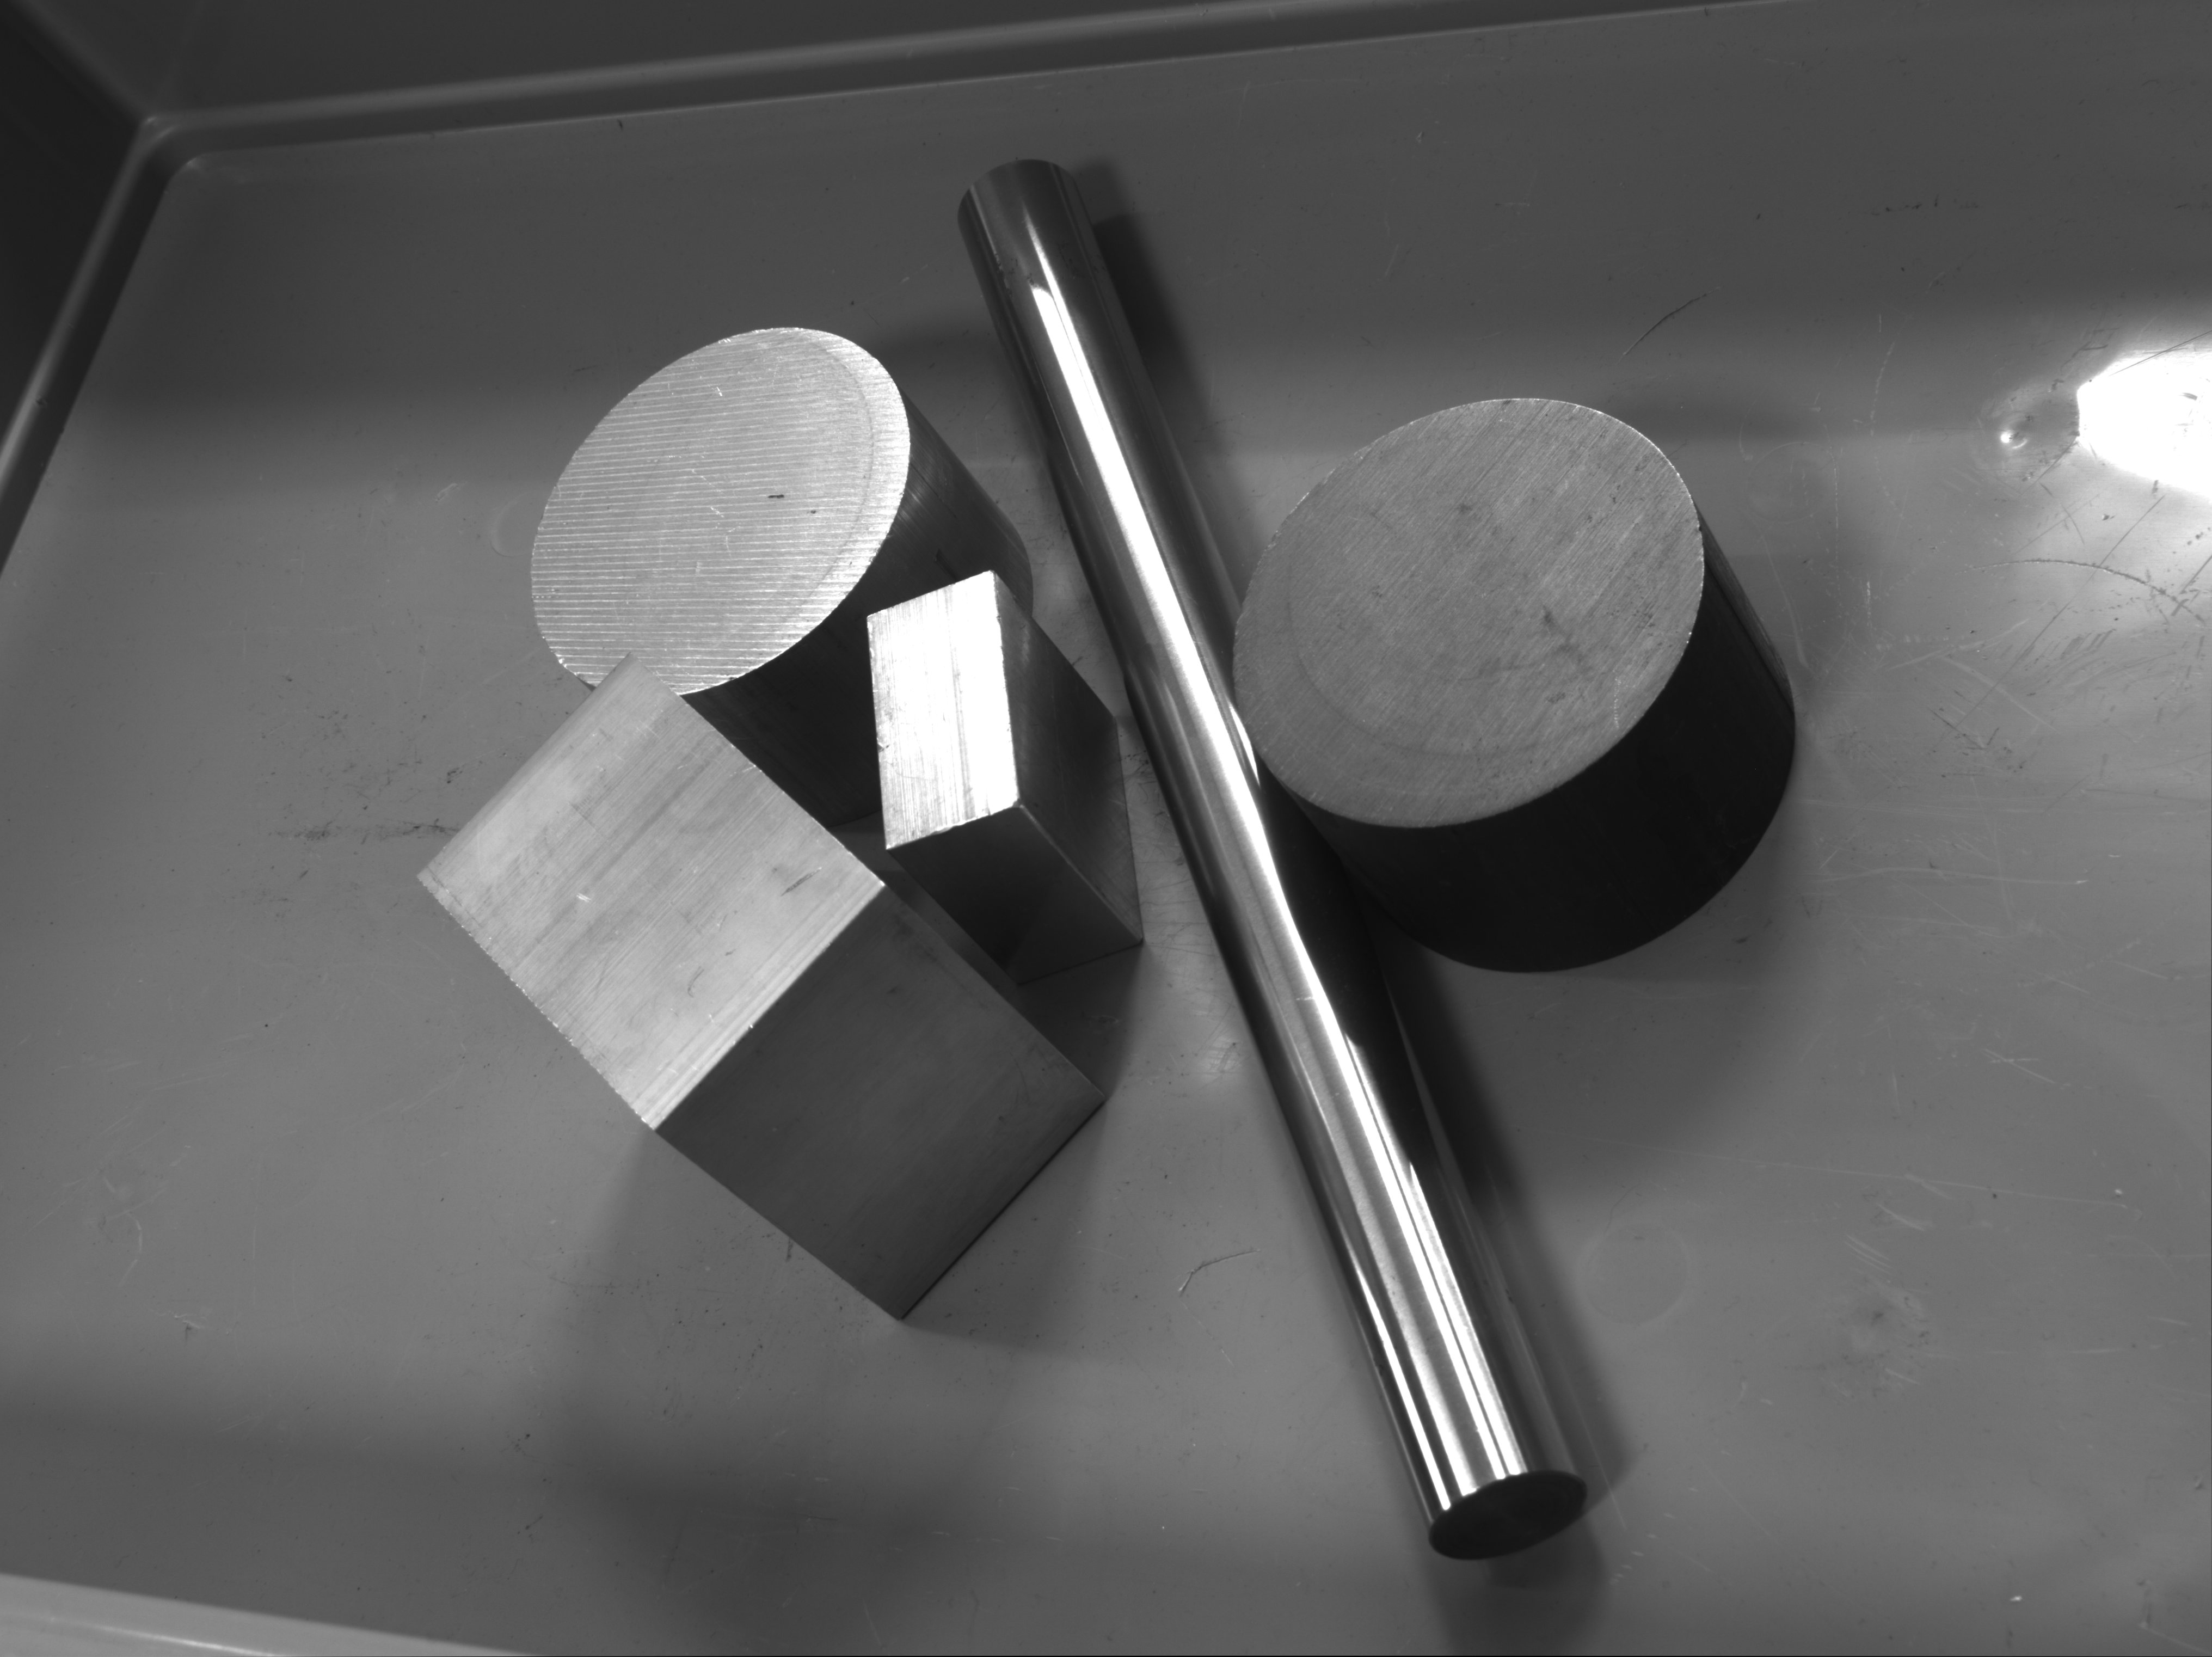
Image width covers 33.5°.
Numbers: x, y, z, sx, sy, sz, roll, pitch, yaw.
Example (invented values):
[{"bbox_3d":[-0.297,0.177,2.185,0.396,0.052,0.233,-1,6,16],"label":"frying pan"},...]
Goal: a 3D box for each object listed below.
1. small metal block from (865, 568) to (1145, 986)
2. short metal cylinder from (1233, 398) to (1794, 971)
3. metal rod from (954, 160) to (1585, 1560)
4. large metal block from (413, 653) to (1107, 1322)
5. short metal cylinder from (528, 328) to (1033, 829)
[{"bbox_3d":[-0.018,-0.009,0.642,0.025,0.050,0.050,-19,54,17],"label":"small metal block"},{"bbox_3d":[0.068,-0.024,0.606,0.080,0.050,0.080,-14,56,21],"label":"short metal cylinder"},{"bbox_3d":[0.021,-0.010,0.639,0.025,0.025,0.300,-28,52,11],"label":"metal rod"},{"bbox_3d":[-0.058,0.027,0.622,0.050,0.080,0.080,-47,50,-4],"label":"large metal block"},{"bbox_3d":[-0.061,-0.046,0.689,0.080,0.050,0.080,-14,56,21],"label":"short metal cylinder"}]
